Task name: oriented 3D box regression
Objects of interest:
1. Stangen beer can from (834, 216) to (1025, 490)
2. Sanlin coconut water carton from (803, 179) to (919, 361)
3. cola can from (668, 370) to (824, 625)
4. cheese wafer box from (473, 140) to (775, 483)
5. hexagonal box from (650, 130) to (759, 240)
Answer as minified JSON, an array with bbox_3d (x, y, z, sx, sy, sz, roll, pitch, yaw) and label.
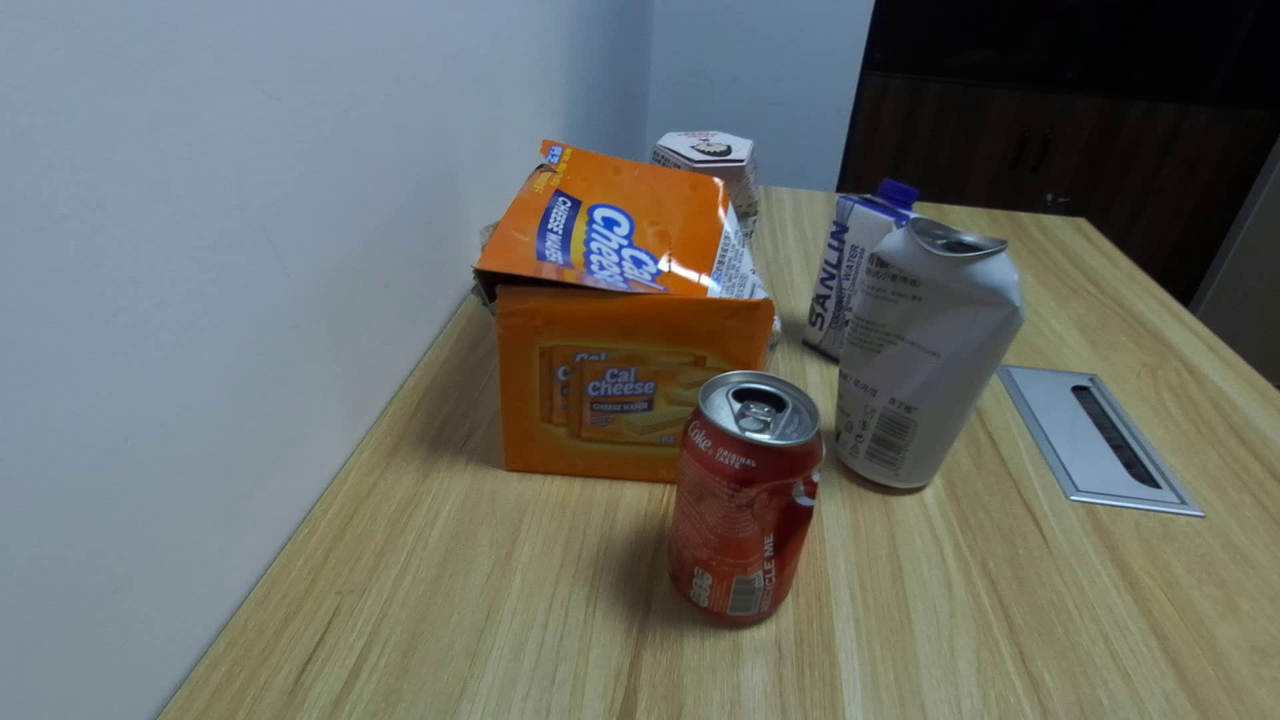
[{"bbox_3d":[0.164,0.001,0.416,0.077,0.162,0.065,3,33,-3],"label":"Stangen beer can"},{"bbox_3d":[0.174,-0.067,0.544,0.058,0.142,0.077,-13,34,-34],"label":"Sanlin coconut water carton"},{"bbox_3d":[0.050,0.067,0.340,0.066,0.117,0.066,-17,36,-32],"label":"cola can"},{"bbox_3d":[0.005,-0.044,0.482,0.191,0.145,0.218,3,33,0],"label":"cheese wafer box"},{"bbox_3d":[0.054,-0.127,0.631,0.091,0.134,0.090,19,39,20],"label":"hexagonal box"}]
